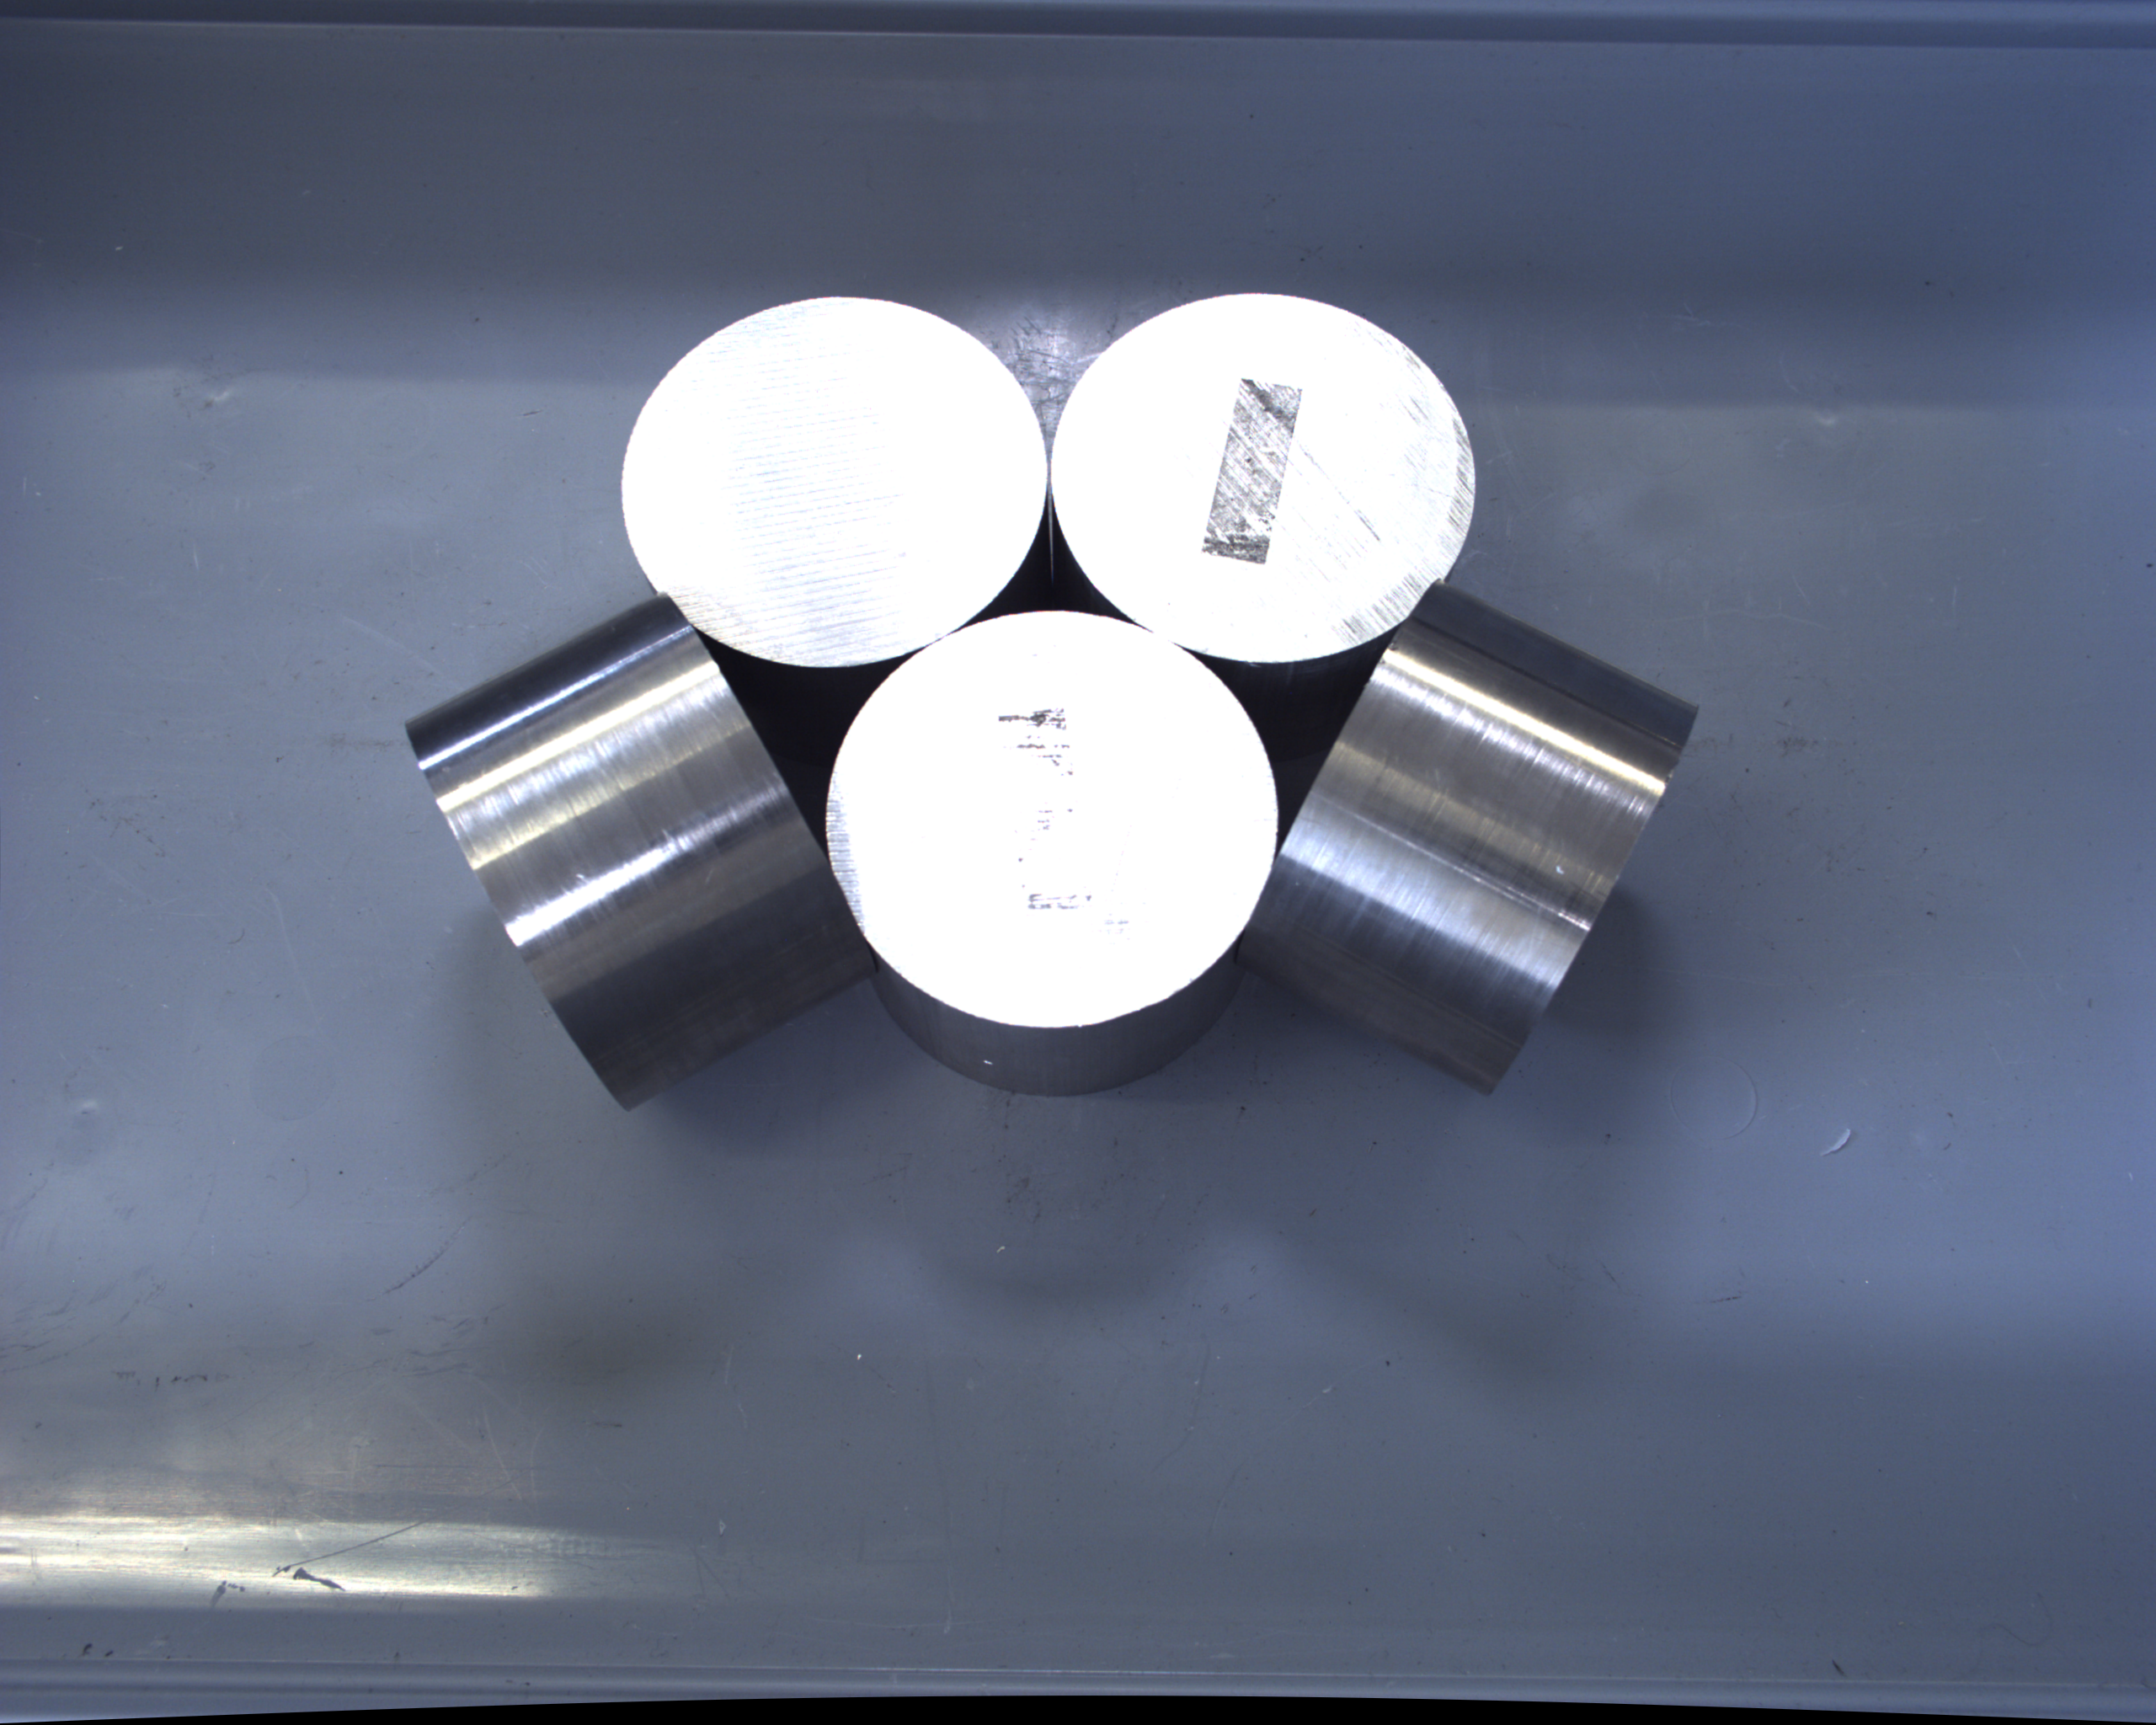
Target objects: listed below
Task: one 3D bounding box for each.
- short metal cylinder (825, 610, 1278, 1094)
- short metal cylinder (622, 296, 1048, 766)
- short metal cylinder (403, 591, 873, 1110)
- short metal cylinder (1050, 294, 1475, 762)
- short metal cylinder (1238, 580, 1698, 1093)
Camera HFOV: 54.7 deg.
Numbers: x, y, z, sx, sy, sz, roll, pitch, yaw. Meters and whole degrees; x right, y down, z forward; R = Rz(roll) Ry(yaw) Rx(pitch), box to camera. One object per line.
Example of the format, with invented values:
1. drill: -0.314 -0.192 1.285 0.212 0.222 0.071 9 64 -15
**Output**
1. short metal cylinder: -0.005 -0.001 0.395 0.081 0.050 0.080 0 70 0
2. short metal cylinder: -0.046 -0.065 0.418 0.081 0.050 0.080 0 70 0
3. short metal cylinder: -0.079 -0.002 0.379 0.050 0.080 0.080 -29 73 -10
4. short metal cylinder: 0.035 -0.066 0.419 0.081 0.050 0.080 0 70 0
5. short metal cylinder: 0.070 -0.005 0.381 0.050 0.080 0.080 28 73 10
